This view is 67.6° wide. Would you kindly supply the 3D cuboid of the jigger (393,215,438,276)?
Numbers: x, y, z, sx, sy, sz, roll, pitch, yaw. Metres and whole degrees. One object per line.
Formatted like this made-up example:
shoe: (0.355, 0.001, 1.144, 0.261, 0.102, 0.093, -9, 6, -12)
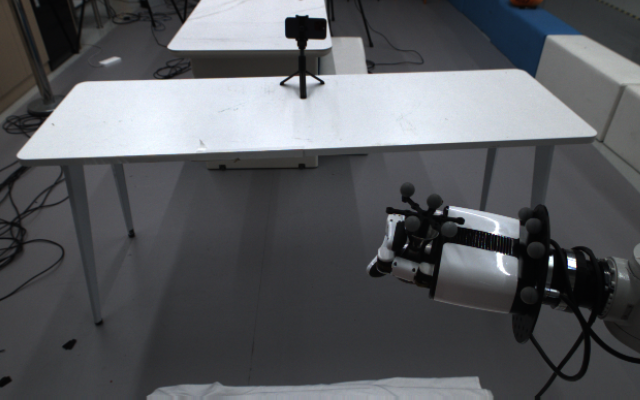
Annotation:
jigger: (0.115, 0.061, 0.580, 0.043, 0.071, 0.043, 7, 32, -4)
